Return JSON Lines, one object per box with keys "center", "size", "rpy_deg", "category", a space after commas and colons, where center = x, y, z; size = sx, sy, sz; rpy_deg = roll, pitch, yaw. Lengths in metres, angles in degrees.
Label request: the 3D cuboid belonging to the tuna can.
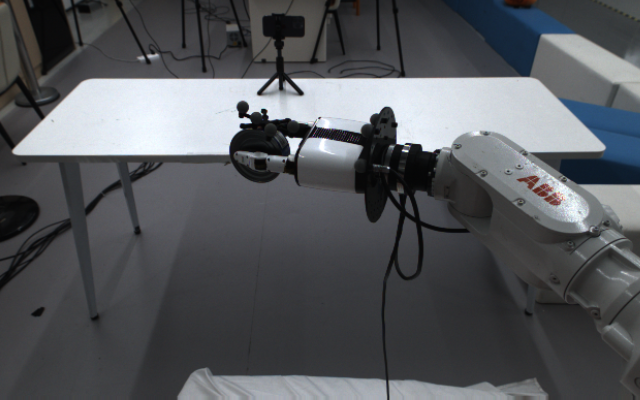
{"center": [-0.088, -0.070, 0.718], "size": [0.085, 0.085, 0.034], "rpy_deg": [13, 30, 15], "category": "tuna can"}
